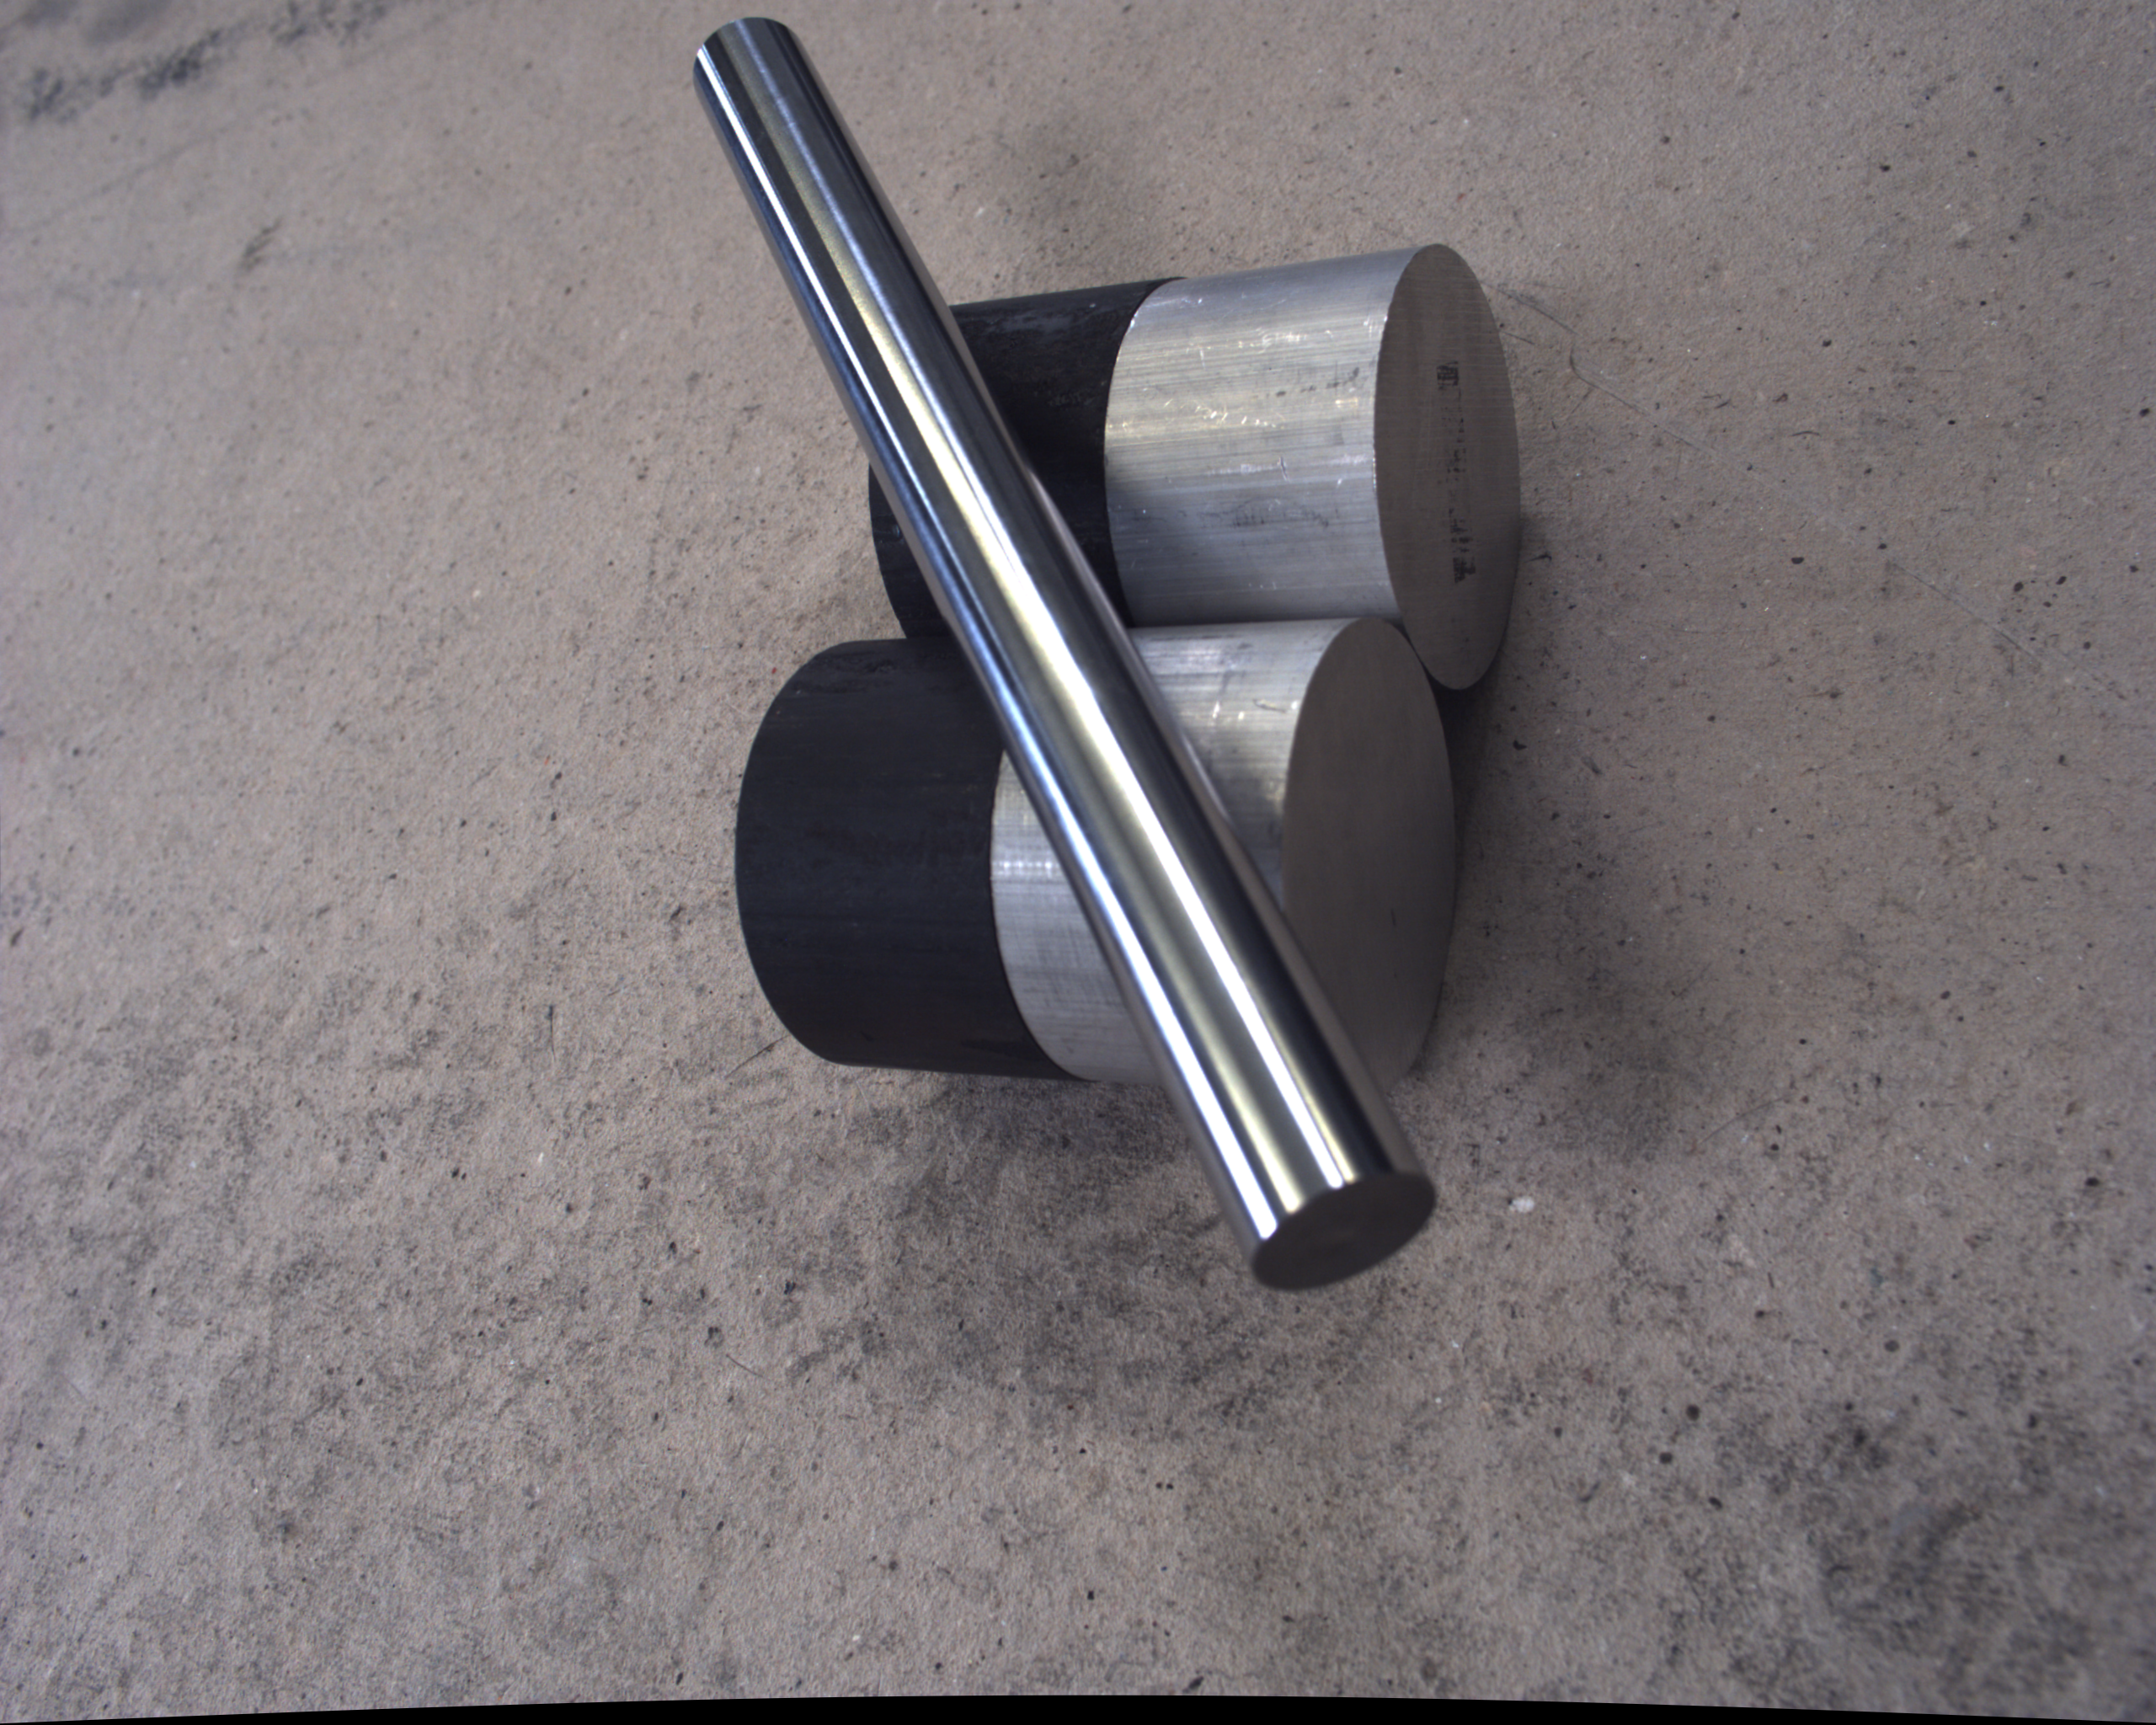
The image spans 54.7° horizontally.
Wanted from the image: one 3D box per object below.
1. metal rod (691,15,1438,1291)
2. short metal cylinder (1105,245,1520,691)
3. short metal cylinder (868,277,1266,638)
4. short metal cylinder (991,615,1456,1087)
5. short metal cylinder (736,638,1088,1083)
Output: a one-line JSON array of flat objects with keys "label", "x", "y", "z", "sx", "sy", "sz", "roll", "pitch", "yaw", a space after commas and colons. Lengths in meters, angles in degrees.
[{"label": "metal rod", "x": -0.018, "y": -0.061, "z": 0.349, "sx": 0.025, "sy": 0.025, "sz": 0.300, "roll": -32, "pitch": 52, "yaw": 8}, {"label": "short metal cylinder", "x": 0.046, "y": -0.071, "z": 0.390, "sx": 0.050, "sy": 0.080, "sz": 0.080, "roll": 1, "pitch": 62, "yaw": 29}, {"label": "short metal cylinder", "x": 0.002, "y": -0.072, "z": 0.414, "sx": 0.050, "sy": 0.080, "sz": 0.080, "roll": 1, "pitch": 62, "yaw": 29}, {"label": "short metal cylinder", "x": 0.028, "y": -0.001, "z": 0.357, "sx": 0.050, "sy": 0.080, "sz": 0.080, "roll": 1, "pitch": 62, "yaw": 29}, {"label": "short metal cylinder", "x": -0.017, "y": -0.001, "z": 0.380, "sx": 0.050, "sy": 0.080, "sz": 0.080, "roll": 1, "pitch": 62, "yaw": 29}]
